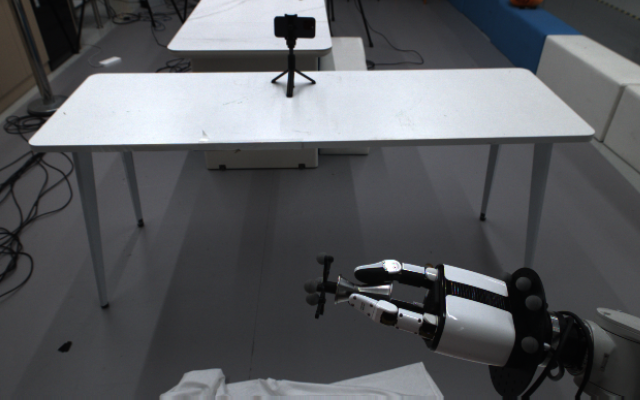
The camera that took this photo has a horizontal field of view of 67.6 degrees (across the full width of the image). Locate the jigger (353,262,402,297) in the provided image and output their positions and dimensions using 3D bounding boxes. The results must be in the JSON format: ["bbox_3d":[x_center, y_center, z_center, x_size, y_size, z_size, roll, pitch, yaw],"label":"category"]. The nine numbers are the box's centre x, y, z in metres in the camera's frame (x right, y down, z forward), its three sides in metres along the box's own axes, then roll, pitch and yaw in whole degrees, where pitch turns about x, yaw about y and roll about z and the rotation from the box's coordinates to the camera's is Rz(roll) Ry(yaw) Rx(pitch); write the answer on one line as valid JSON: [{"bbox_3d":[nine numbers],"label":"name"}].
[{"bbox_3d":[0.063,0.112,0.615,0.071,0.043,0.043,7,35,9],"label":"jigger"}]
